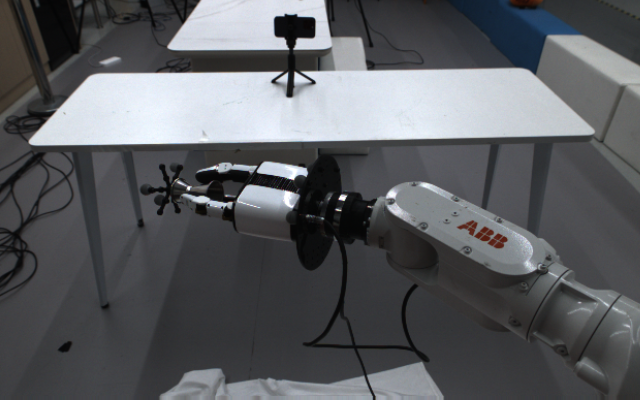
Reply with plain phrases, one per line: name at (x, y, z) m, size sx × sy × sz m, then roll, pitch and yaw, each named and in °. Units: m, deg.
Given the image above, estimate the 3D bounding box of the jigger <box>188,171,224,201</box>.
jigger at (-0.178, -0.017, 0.733) m, size 0.071 × 0.043 × 0.043 m, roll 6°, pitch 34°, yaw 23°
